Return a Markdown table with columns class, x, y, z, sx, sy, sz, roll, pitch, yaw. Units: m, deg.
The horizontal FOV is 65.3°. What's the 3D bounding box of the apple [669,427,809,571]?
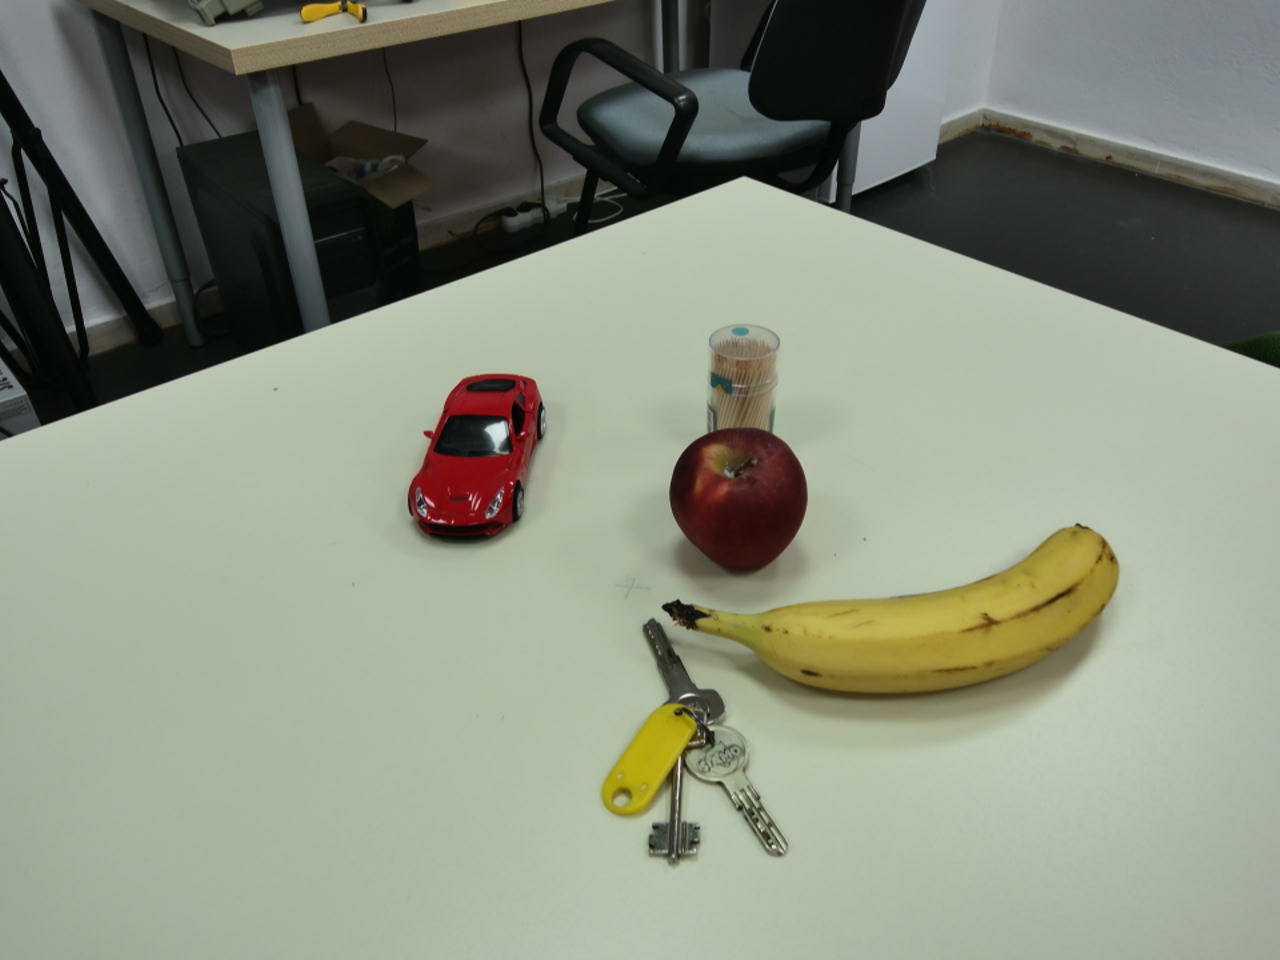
| class | x | y | z | sx | sy | sz | roll | pitch | yaw |
| --- | --- | --- | --- | --- | --- | --- | --- | --- | --- |
| apple | 0.050 | 0.009 | 0.501 | 0.070 | 0.072 | 0.070 | 0 | 36 | 0 |
